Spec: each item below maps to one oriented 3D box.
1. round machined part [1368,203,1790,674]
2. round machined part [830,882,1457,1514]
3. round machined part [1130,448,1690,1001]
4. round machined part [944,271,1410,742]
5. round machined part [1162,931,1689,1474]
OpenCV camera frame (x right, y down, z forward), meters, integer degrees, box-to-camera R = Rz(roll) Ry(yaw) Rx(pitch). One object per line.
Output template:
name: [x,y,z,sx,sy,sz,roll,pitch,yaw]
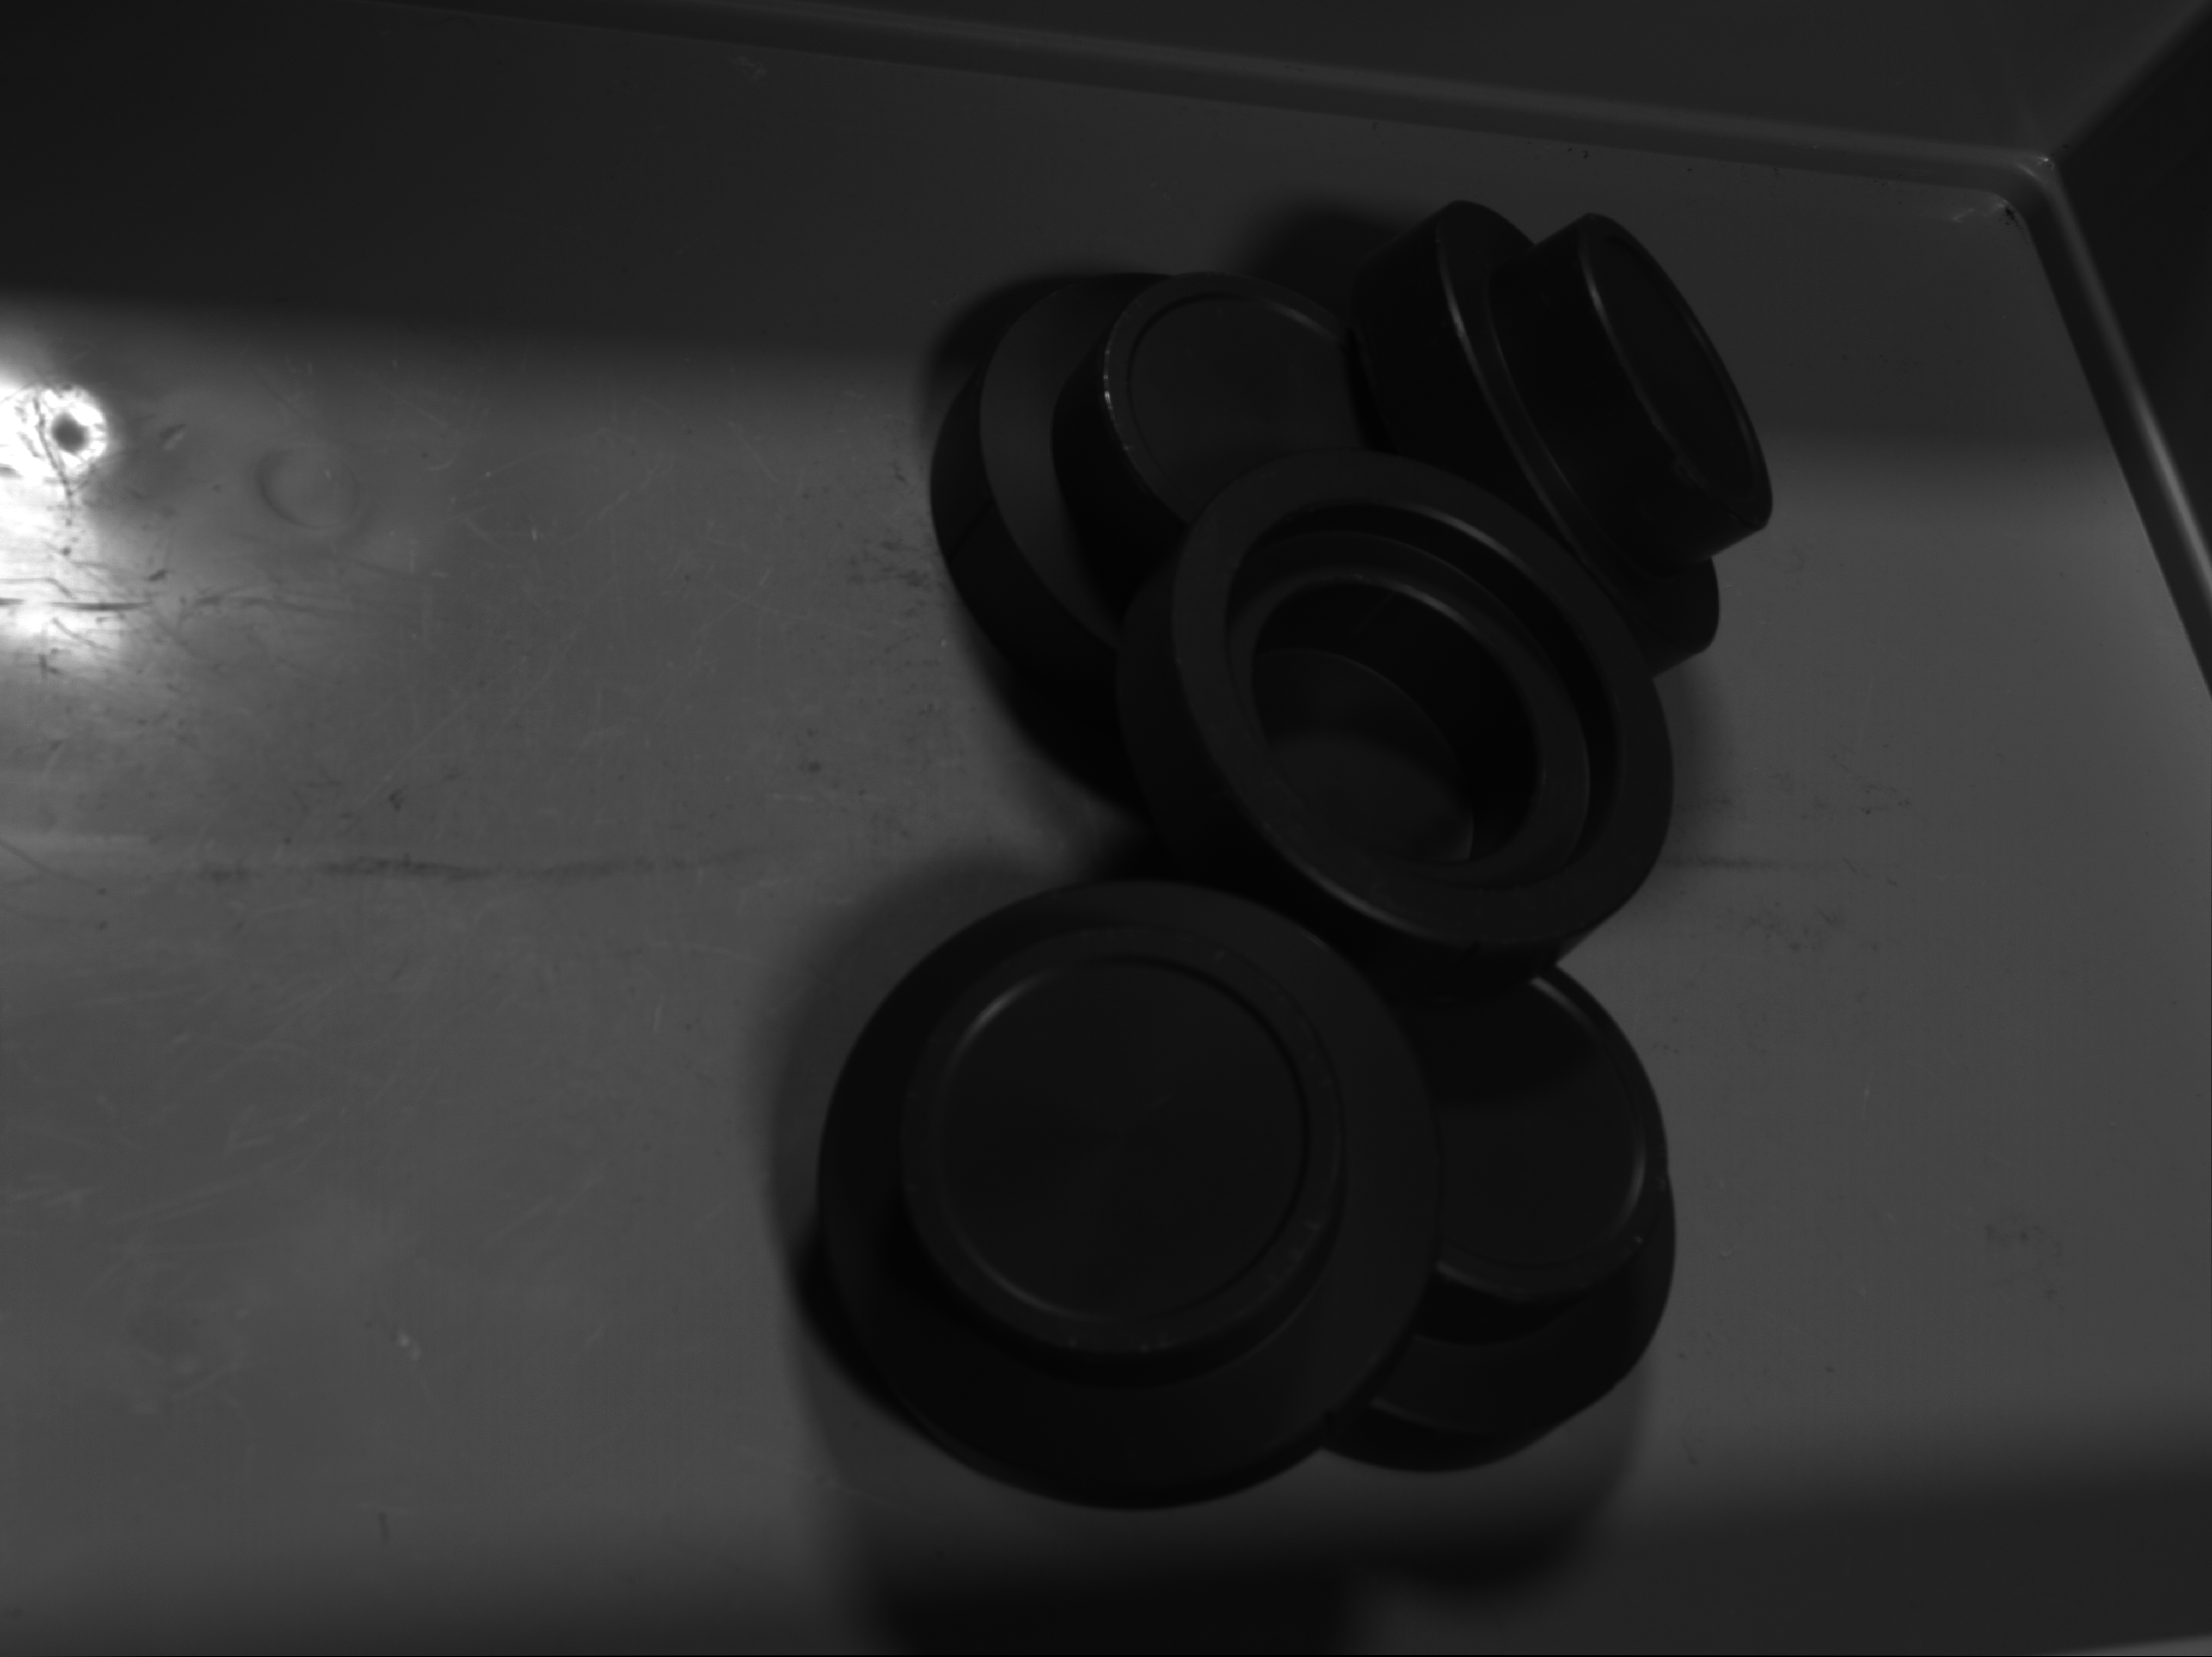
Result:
round machined part: [0.095,-0.077,0.698,0.098,0.042,0.098,44,29,-32]
round machined part: [0.006,0.054,0.570,0.098,0.042,0.098,-1,69,3]
round machined part: [0.048,-0.014,0.633,0.098,0.042,0.098,14,56,-21]
round machined part: [0.023,-0.063,0.678,0.098,0.042,0.098,14,56,-21]
round machined part: [0.058,0.056,0.624,0.098,0.042,0.098,14,56,-21]
